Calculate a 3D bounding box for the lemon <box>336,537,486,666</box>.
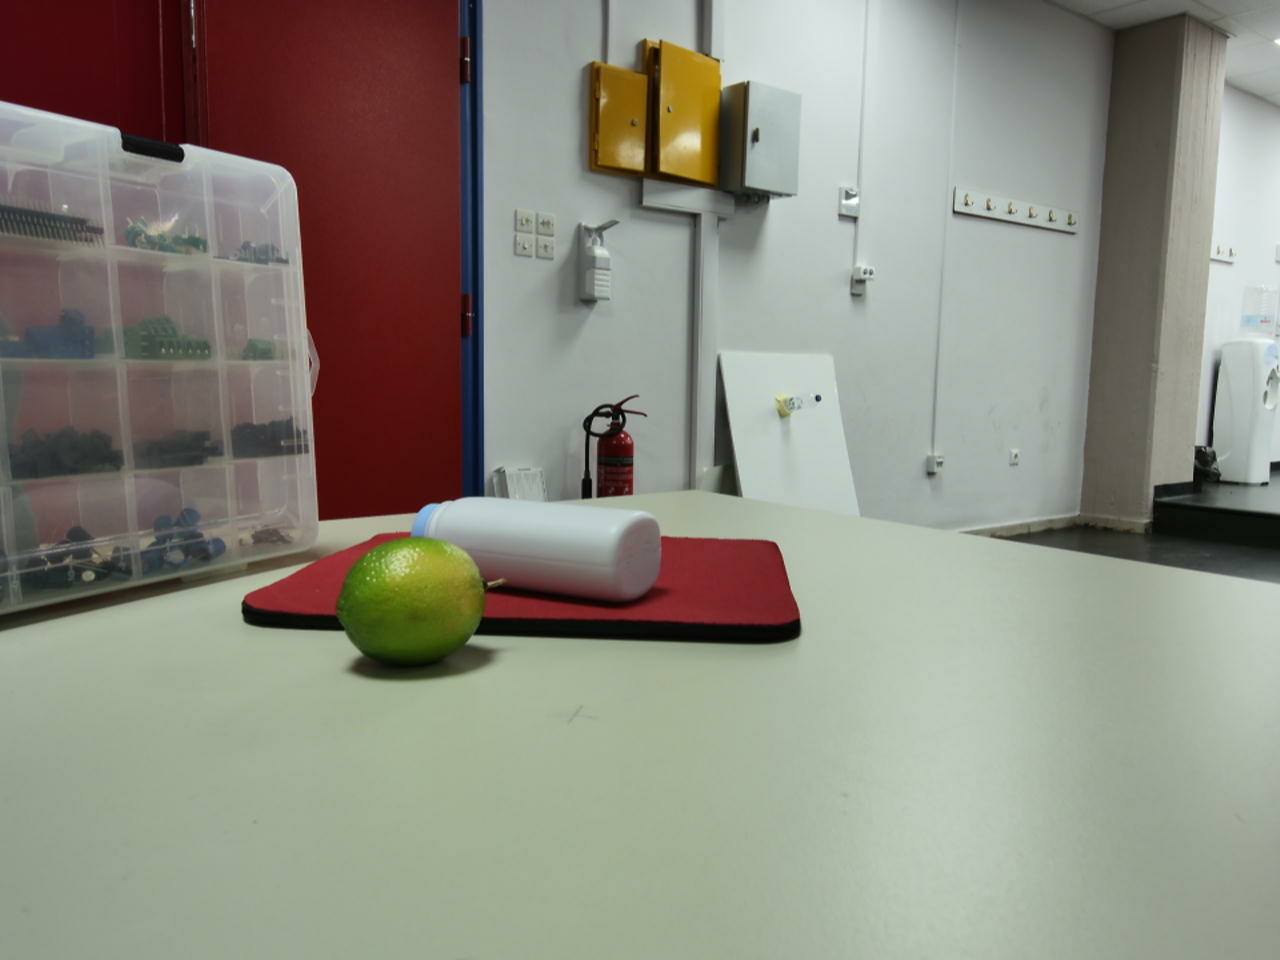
[{"bbox_3d":[-0.092,0.048,0.402,0.055,0.050,0.054,0,4,12],"label":"lemon"}]
